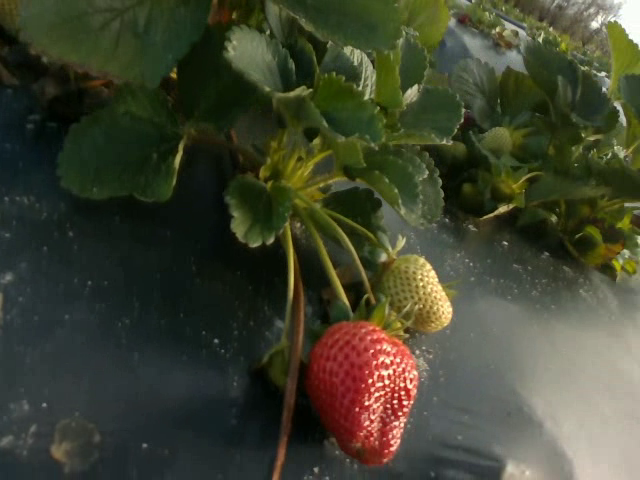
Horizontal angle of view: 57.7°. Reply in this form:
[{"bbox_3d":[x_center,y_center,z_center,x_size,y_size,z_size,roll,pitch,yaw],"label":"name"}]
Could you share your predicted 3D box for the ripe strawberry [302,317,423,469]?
[{"bbox_3d":[0.021,0.054,0.200,0.047,0.050,0.034,18,-33,-23],"label":"ripe strawberry"}]
